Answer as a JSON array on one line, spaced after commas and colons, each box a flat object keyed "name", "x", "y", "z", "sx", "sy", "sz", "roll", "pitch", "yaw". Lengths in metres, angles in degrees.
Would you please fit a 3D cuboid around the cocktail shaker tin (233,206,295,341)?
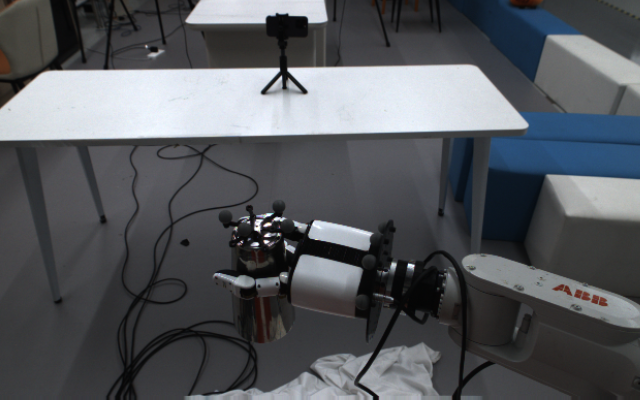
[{"name": "cocktail shaker tin", "x": -0.077, "y": 0.105, "z": 0.668, "sx": 0.093, "sy": 0.170, "sz": 0.093, "roll": 1, "pitch": 39, "yaw": 0}]
